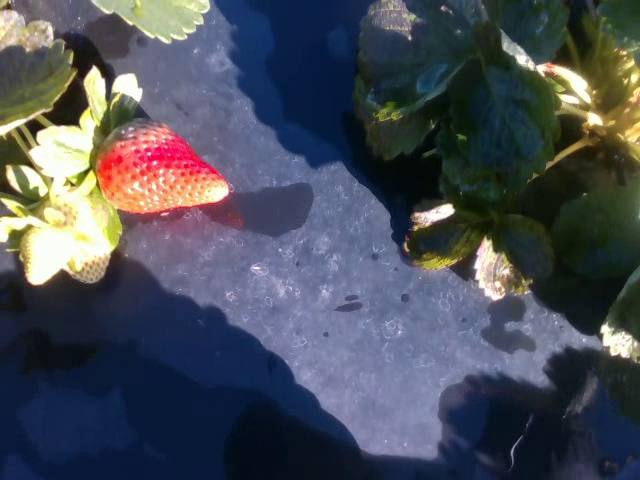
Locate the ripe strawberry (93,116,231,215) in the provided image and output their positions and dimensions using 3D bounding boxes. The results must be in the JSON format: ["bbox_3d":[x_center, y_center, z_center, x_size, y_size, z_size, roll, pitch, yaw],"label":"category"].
[{"bbox_3d":[-0.065,-0.028,0.258,0.064,0.049,0.052,13,24,8],"label":"ripe strawberry"}]
